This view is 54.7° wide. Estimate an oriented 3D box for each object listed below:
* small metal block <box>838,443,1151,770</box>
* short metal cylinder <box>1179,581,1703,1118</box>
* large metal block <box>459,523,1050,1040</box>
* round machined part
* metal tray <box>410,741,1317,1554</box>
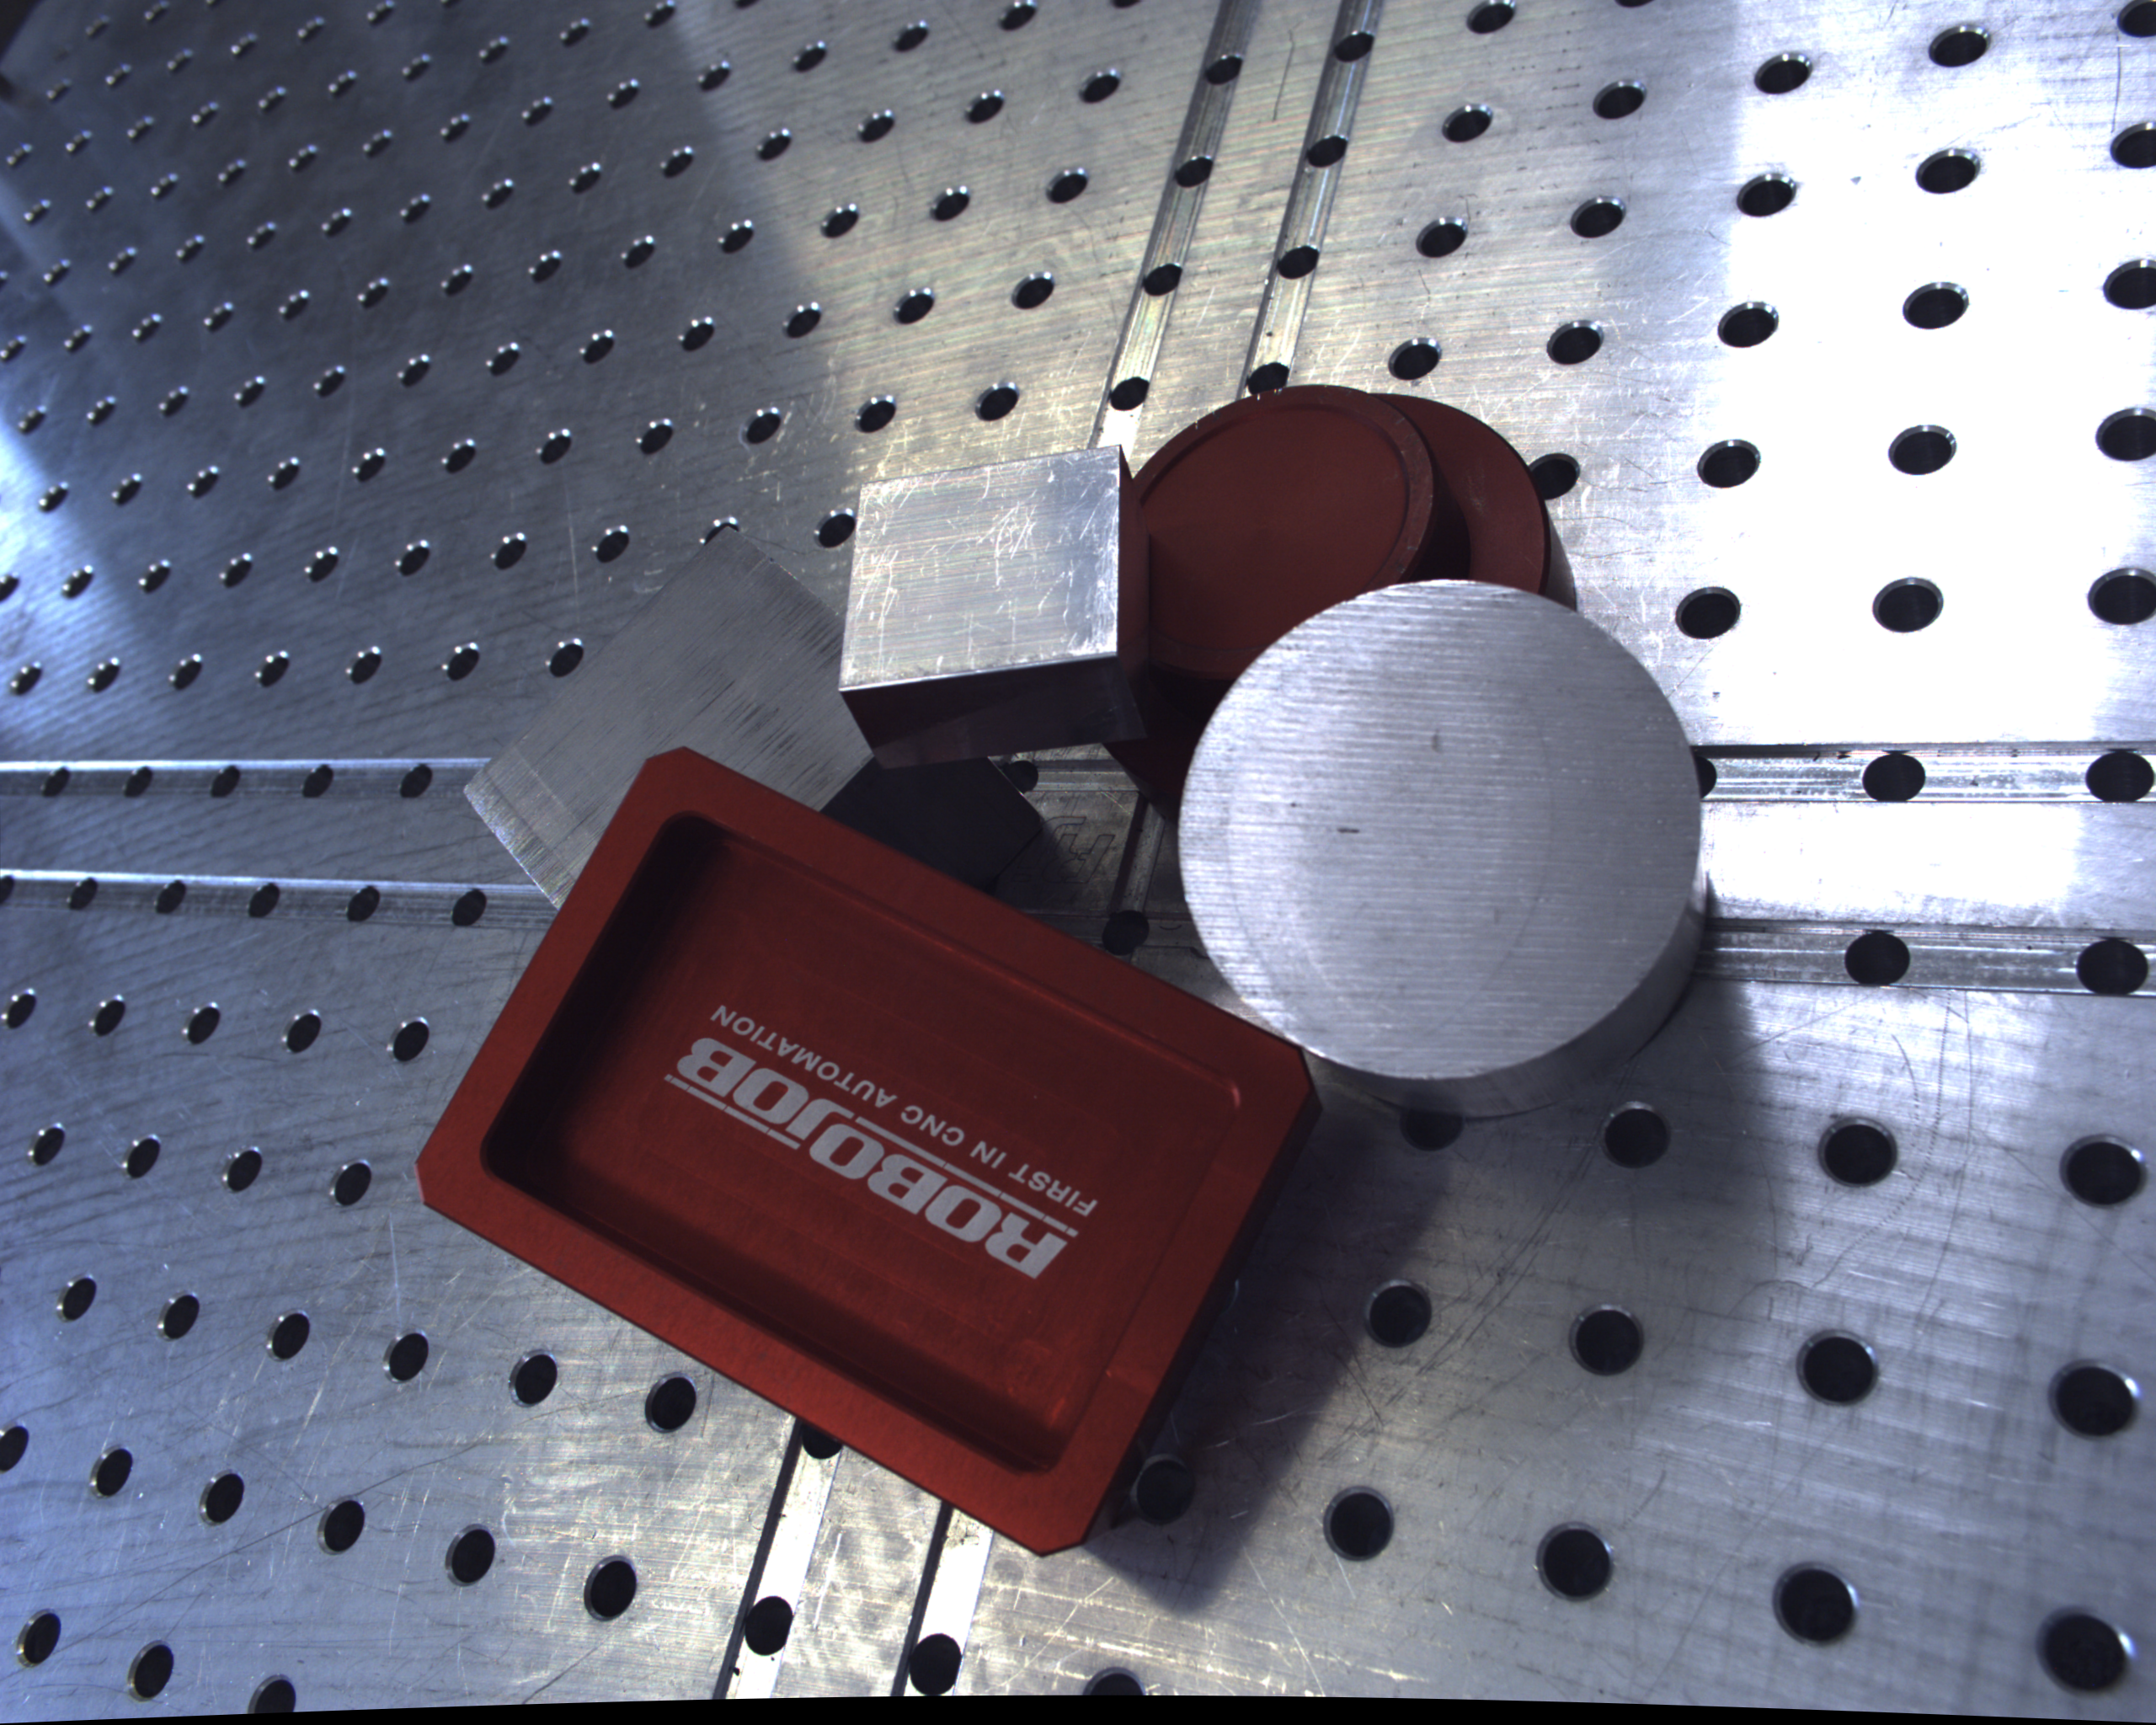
[{"bbox_3d":[-0.014,-0.047,0.385,0.050,0.025,0.050,-6,55,12],"label":"small metal block"},{"bbox_3d":[0.062,0.000,0.345,0.080,0.050,0.080,-4,75,16],"label":"short metal cylinder"},{"bbox_3d":[-0.068,-0.011,0.435,0.080,0.050,0.080,-46,51,-4],"label":"large metal block"},{"bbox_3d":[0.043,-0.054,0.407,0.098,0.042,0.098,-13,56,21],"label":"round machined part"},{"bbox_3d":[-0.036,0.046,0.359,0.130,0.030,0.090,26,82,14],"label":"metal tray"}]
